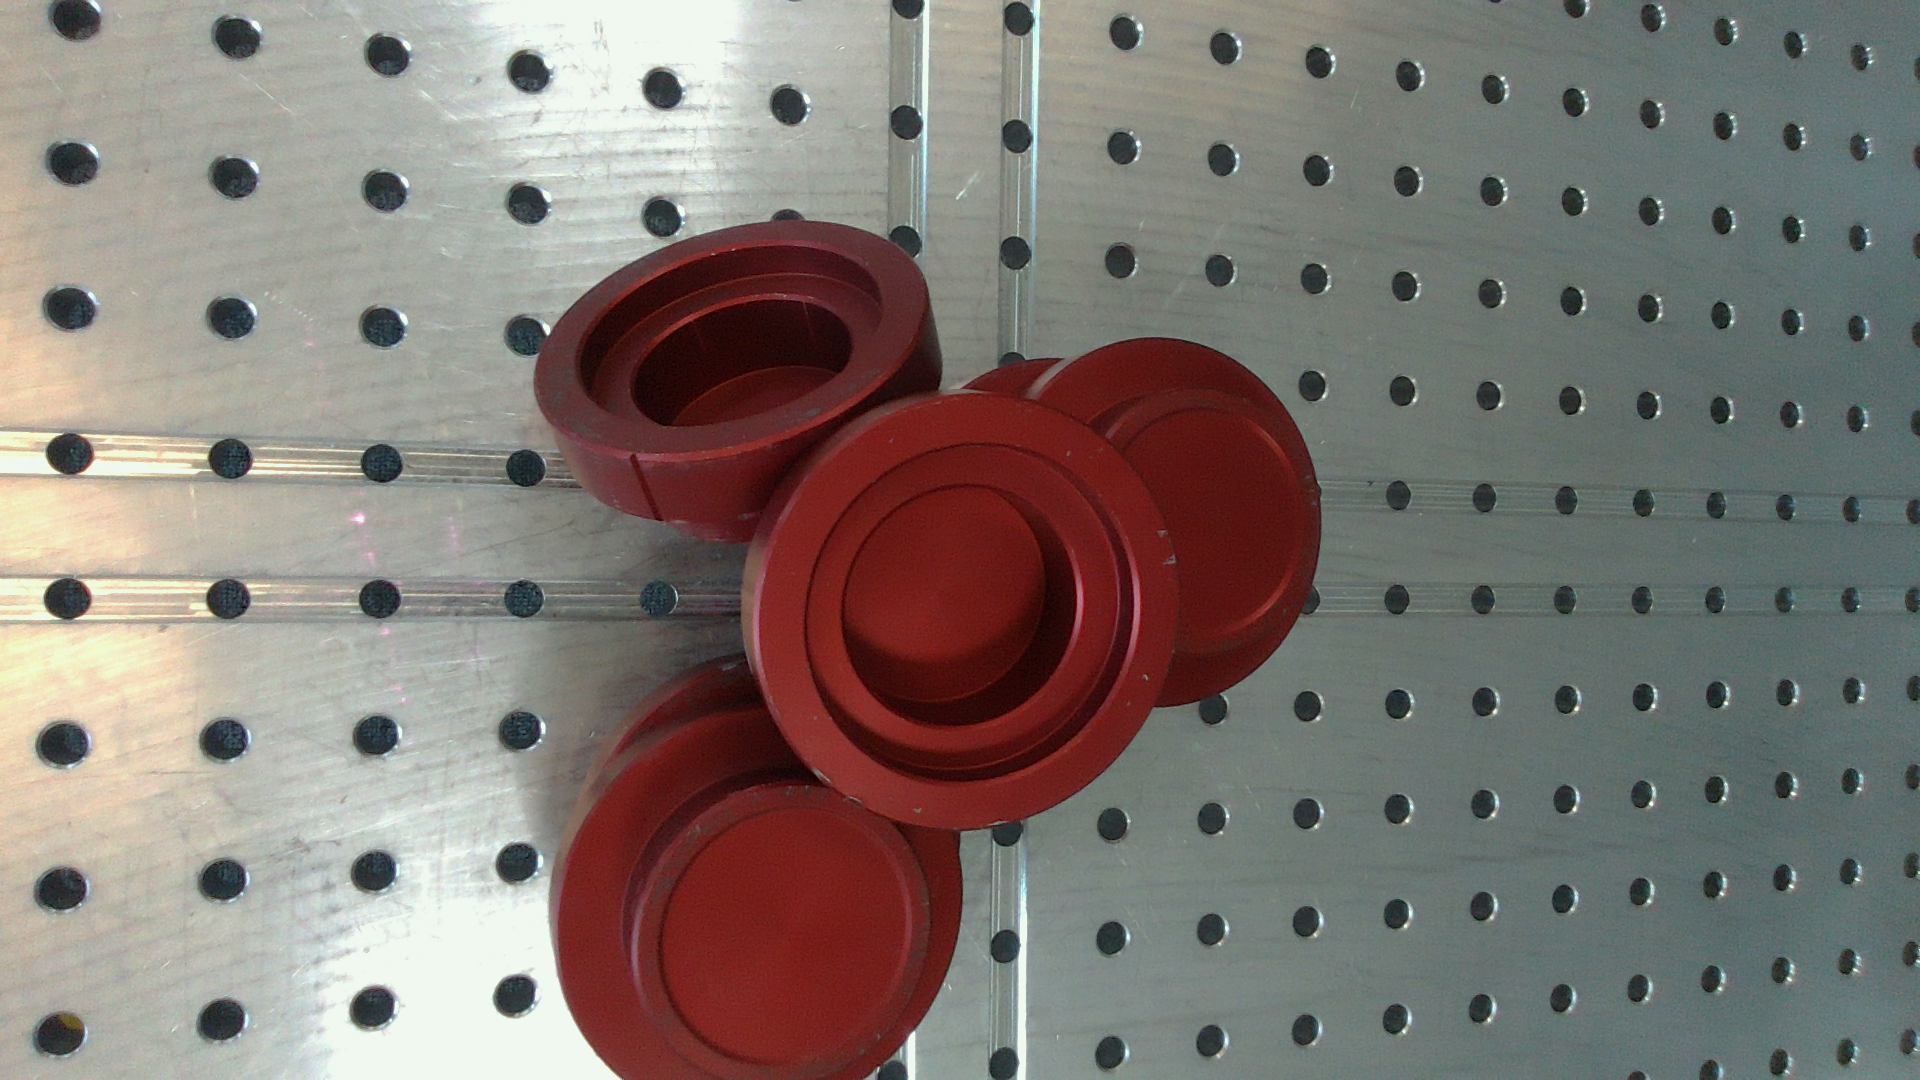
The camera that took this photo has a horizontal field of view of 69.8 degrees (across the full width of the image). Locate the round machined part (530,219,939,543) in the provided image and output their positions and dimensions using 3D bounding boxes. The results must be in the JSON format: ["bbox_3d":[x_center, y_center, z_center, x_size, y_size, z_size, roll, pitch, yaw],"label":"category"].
[{"bbox_3d":[-0.053,-0.037,0.347,0.098,0.098,0.042,-29,135,-18],"label":"round machined part"}]

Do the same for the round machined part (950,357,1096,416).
[{"bbox_3d":[0.026,-0.001,0.374,0.098,0.042,0.098,0,90,-20],"label":"round machined part"}]

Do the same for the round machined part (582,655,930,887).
[{"bbox_3d":[-0.046,0.078,0.348,0.098,0.042,0.098,0,90,-20],"label":"round machined part"}]

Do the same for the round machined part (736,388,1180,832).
[{"bbox_3d":[-0.003,0.013,0.318,0.098,0.042,0.098,-3,99,-17],"label":"round machined part"}]

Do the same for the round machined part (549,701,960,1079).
[{"bbox_3d":[-0.046,0.088,0.325,0.098,0.042,0.098,0,90,-20],"label":"round machined part"}]

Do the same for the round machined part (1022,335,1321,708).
[{"bbox_3d":[0.054,-0.005,0.361,0.098,0.042,0.098,0,89,-20],"label":"round machined part"}]
